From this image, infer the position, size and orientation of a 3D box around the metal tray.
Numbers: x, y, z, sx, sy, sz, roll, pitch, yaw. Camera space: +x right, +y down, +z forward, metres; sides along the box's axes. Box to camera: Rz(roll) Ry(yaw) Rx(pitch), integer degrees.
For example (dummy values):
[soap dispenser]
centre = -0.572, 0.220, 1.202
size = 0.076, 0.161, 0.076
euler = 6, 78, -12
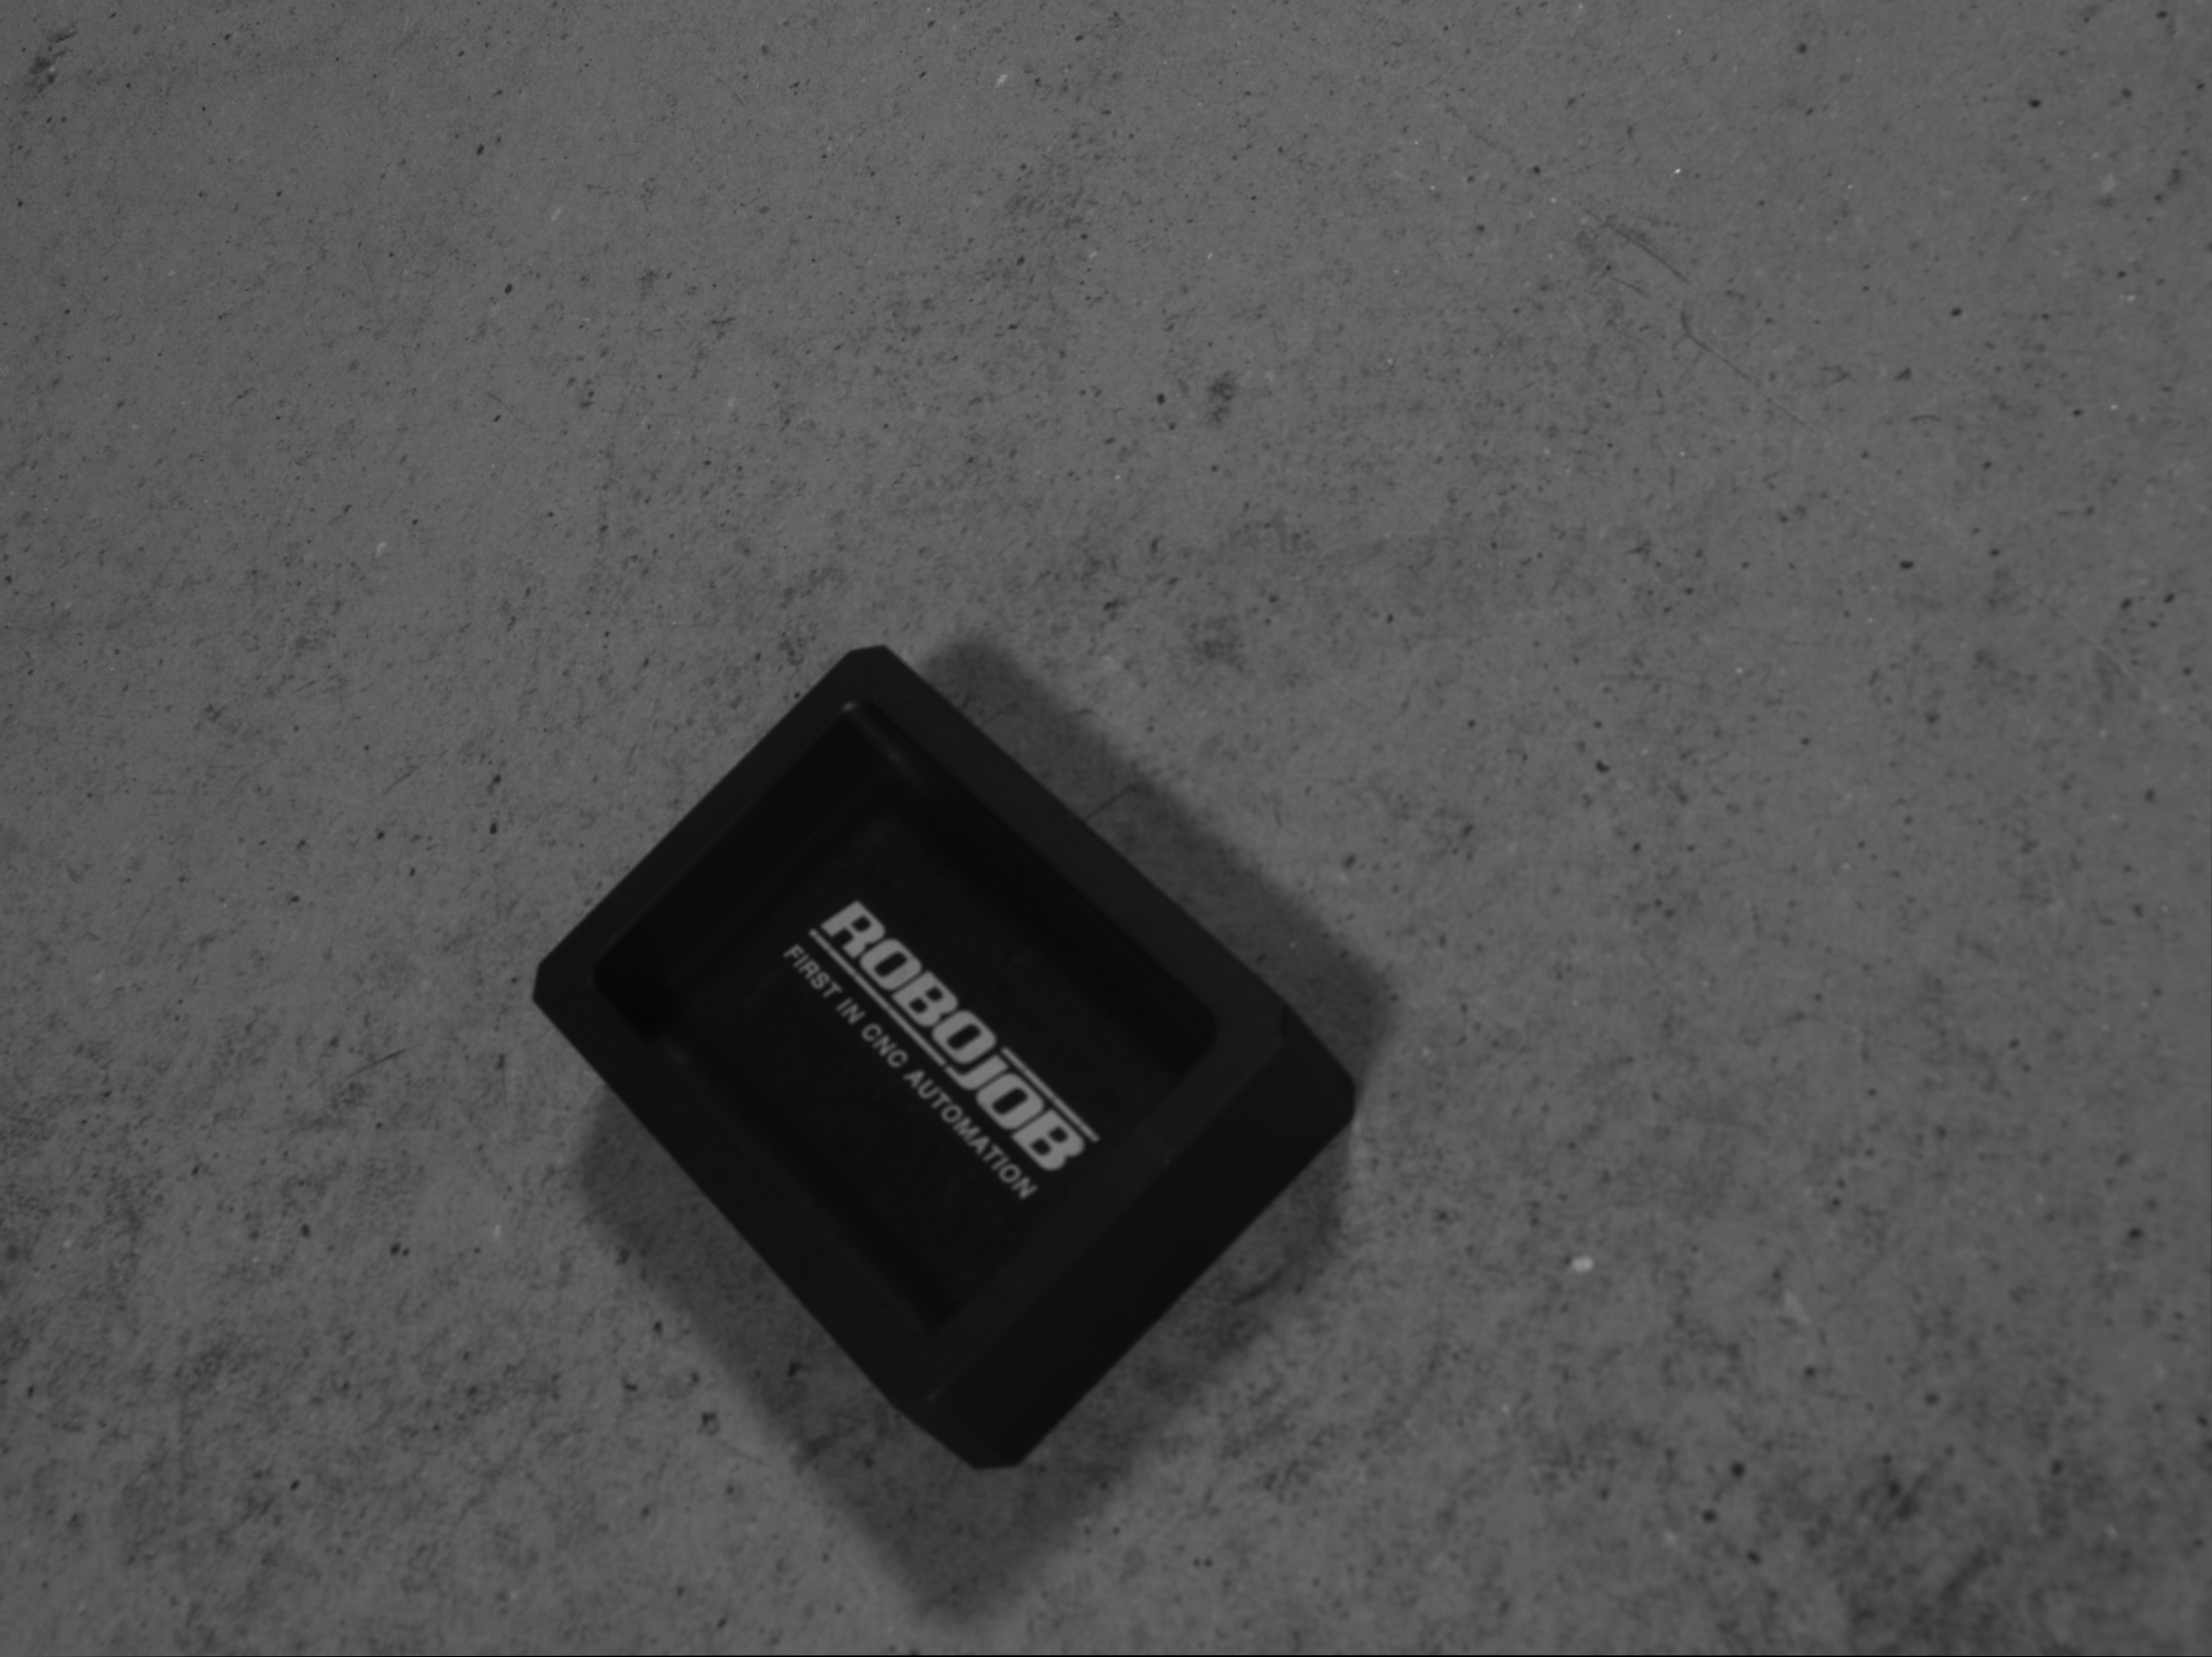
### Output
[metal tray]
centre = -0.029, 0.036, 0.634
size = 0.090, 0.030, 0.130
euler = -45, 51, -4
